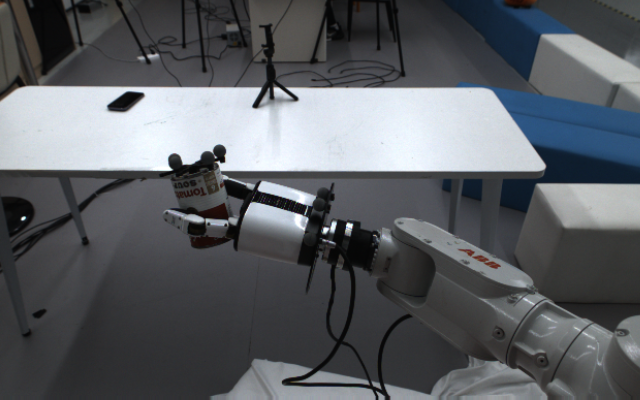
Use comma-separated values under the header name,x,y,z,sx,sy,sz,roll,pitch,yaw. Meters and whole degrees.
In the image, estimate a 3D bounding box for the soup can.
name,x,y,z,sx,sy,sz,roll,pitch,yaw
soup can,-0.156,0.008,0.663,0.067,0.101,0.067,-12,17,4
